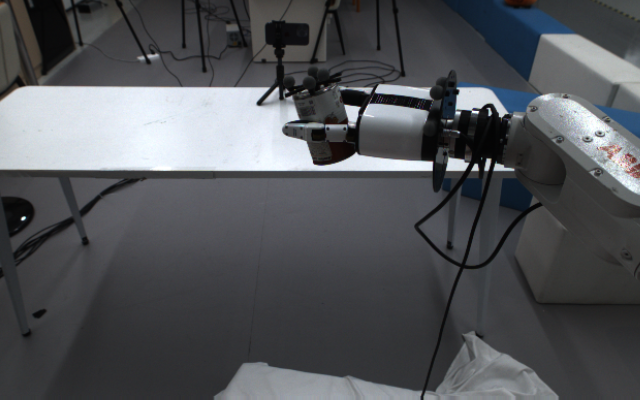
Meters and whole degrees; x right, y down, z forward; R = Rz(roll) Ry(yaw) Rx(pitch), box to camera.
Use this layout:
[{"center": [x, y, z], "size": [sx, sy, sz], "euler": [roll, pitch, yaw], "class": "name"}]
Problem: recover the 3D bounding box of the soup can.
[{"center": [0.007, -0.109, 0.683], "size": [0.067, 0.101, 0.067], "euler": [-16, 23, 7], "class": "soup can"}]
